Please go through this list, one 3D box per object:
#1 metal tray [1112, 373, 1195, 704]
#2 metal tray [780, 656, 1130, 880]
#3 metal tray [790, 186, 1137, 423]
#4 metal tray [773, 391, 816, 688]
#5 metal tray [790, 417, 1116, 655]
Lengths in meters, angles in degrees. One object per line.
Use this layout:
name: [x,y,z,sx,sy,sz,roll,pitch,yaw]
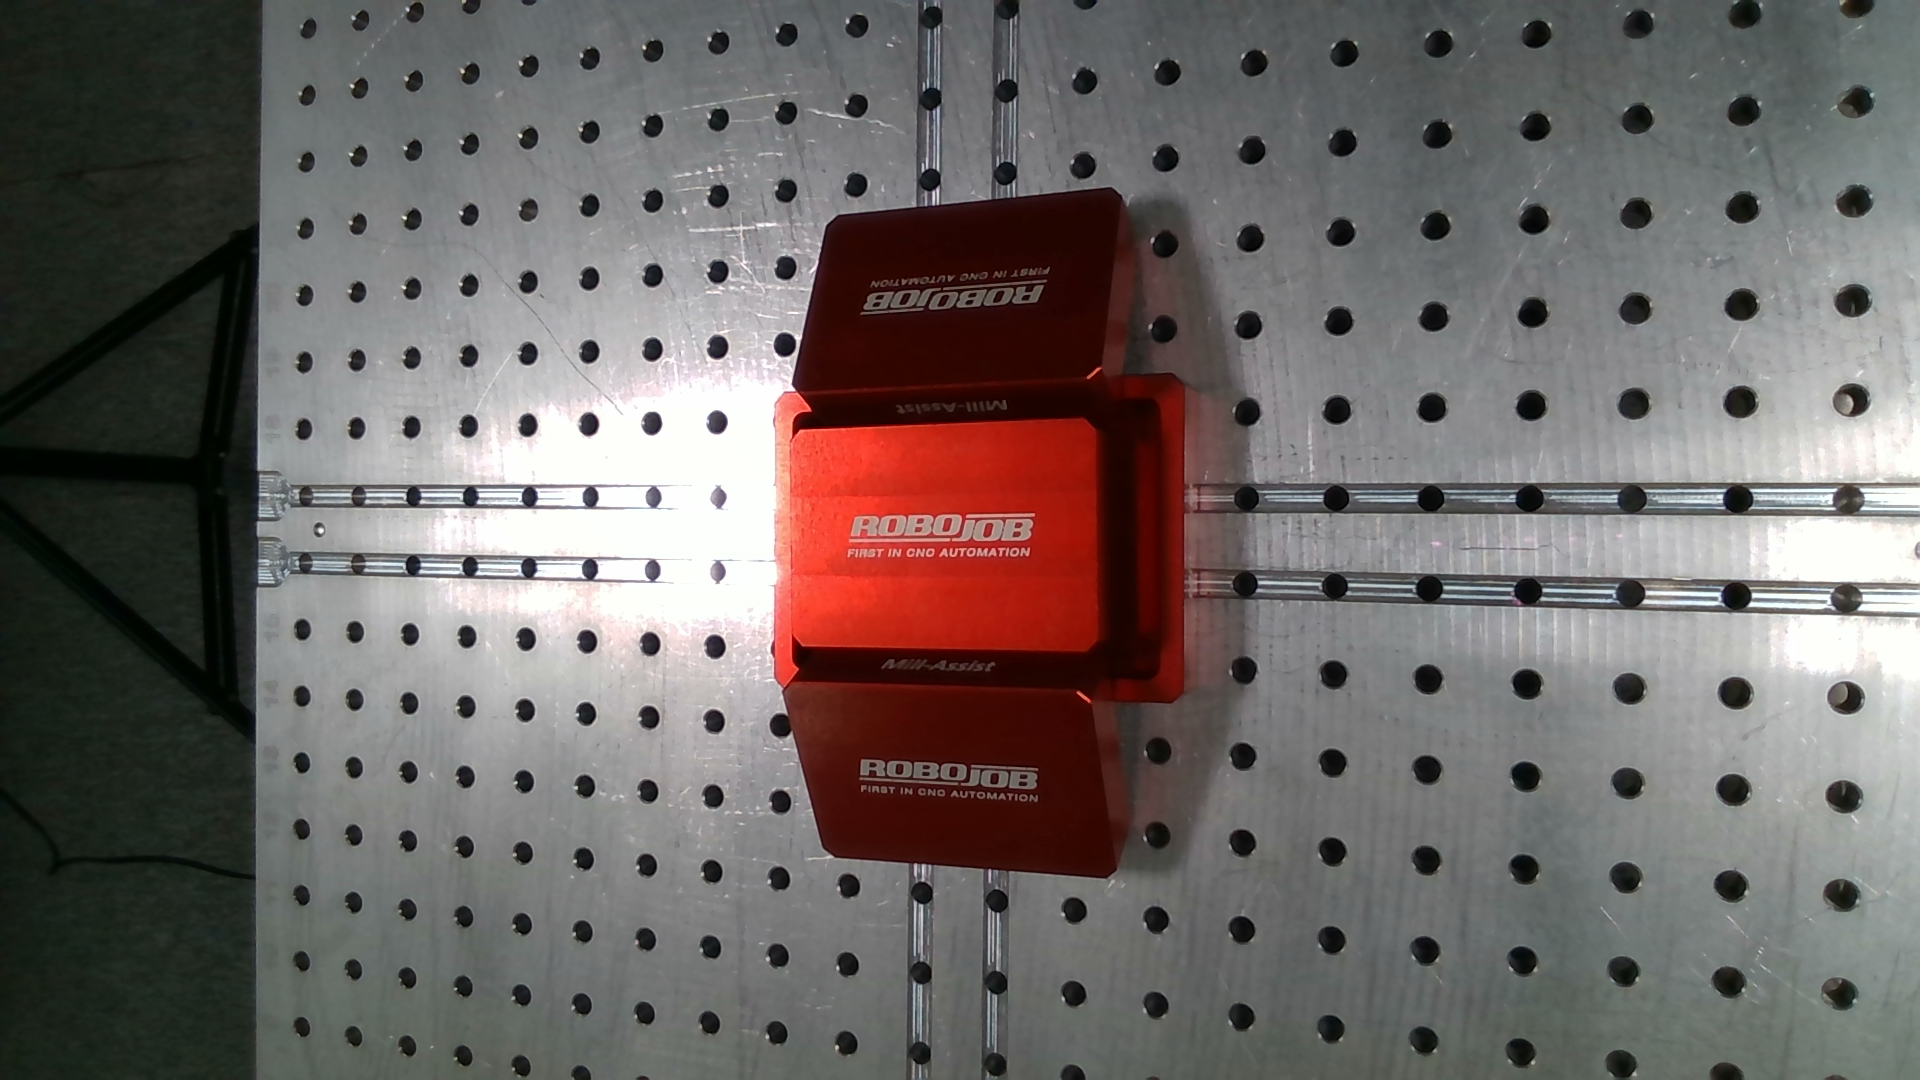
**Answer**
metal tray: [0.051,-0.001,0.566,0.090,0.030,0.130,0,91,21]
metal tray: [-0.001,0.091,0.566,0.130,0.030,0.090,-1,117,20]
metal tray: [0.002,-0.094,0.565,0.130,0.030,0.090,0,64,21]
metal tray: [-0.035,0.000,0.599,0.090,0.030,0.130,0,91,21]
metal tray: [-0.003,-0.001,0.554,0.130,0.030,0.090,-1,90,20]
